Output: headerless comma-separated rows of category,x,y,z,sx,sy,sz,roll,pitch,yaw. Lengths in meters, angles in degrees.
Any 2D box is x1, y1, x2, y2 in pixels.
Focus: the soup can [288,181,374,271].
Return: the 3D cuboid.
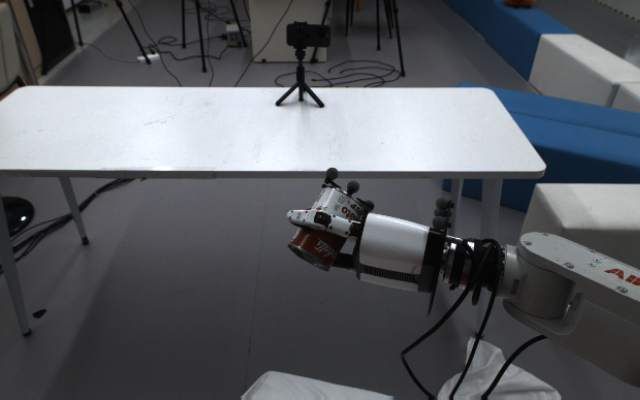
soup can,0.011,0.040,0.677,0.067,0.067,0.101,24,73,28
